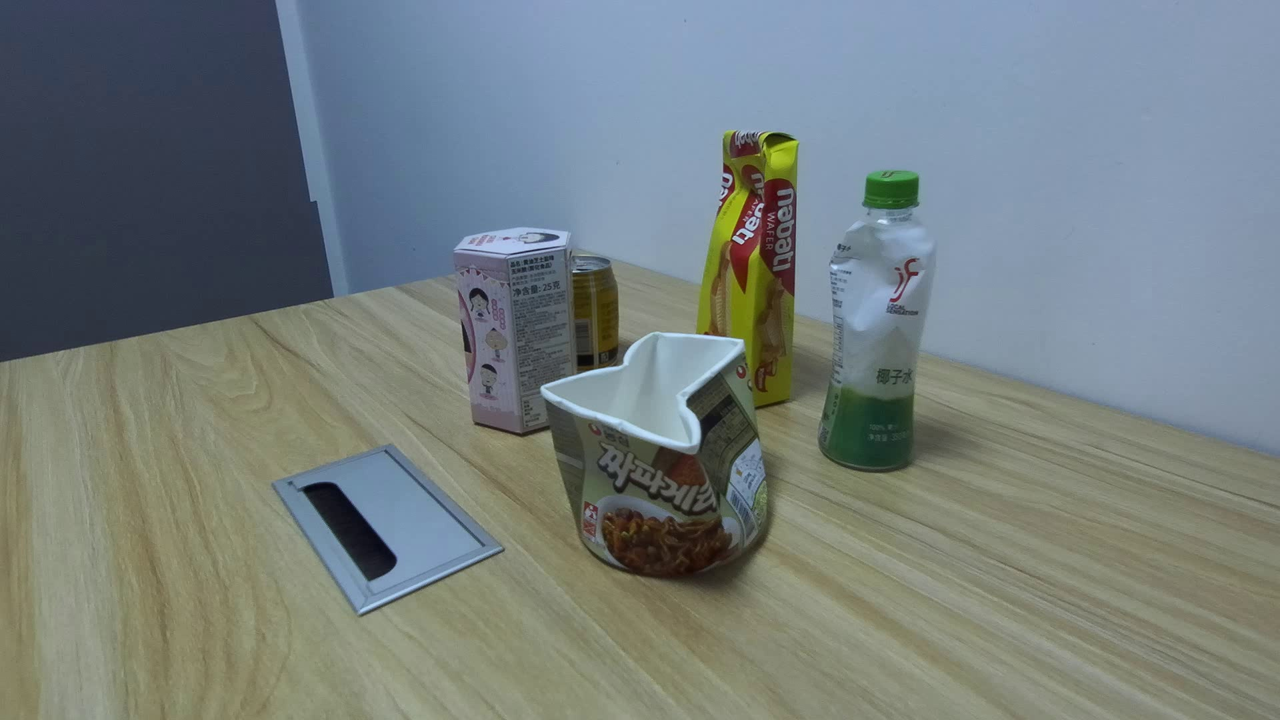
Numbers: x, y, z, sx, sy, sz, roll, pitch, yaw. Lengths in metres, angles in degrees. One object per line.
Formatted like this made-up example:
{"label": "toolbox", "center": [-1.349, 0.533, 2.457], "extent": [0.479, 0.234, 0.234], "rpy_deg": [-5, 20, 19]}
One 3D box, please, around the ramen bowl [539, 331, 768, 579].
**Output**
{"label": "ramen bowl", "center": [0.021, 0.048, 0.404], "extent": [0.111, 0.093, 0.129], "rpy_deg": [15, 28, 34]}

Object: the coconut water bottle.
{"label": "coconut water bottle", "center": [0.154, -0.024, 0.453], "extent": [0.069, 0.187, 0.069], "rpy_deg": [0, 22, 0]}

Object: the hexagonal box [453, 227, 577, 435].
{"label": "hexagonal box", "center": [-0.090, -0.023, 0.532], "extent": [0.084, 0.136, 0.091], "rpy_deg": [-2, 22, -2]}

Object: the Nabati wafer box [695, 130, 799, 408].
{"label": "Nabati wafer box", "center": [0.083, -0.072, 0.554], "extent": [0.043, 0.205, 0.113], "rpy_deg": [-8, 21, -22]}
